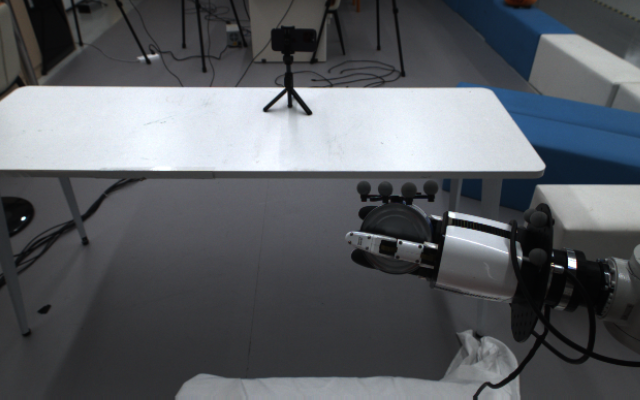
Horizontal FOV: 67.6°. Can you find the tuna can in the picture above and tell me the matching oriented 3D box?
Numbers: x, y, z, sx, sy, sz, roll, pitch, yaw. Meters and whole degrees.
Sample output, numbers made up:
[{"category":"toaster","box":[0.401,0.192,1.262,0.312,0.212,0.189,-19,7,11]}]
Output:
[{"category":"tuna can","box":[0.094,0.042,0.581,0.085,0.085,0.034,15,10,18]}]
